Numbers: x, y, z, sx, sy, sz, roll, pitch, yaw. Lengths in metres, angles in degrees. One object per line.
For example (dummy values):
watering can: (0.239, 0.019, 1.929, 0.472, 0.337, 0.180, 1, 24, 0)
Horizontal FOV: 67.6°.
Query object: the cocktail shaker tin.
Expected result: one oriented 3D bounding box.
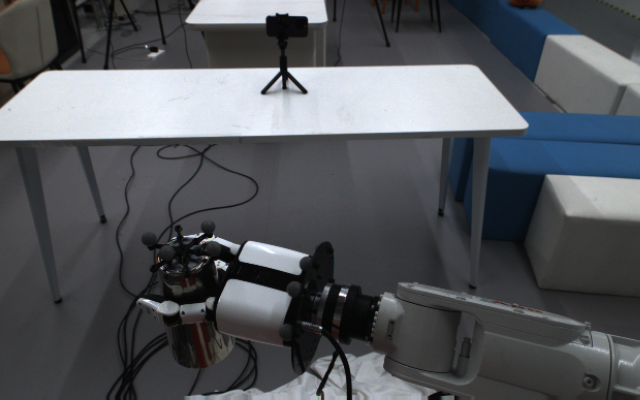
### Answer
cocktail shaker tin: (-0.161, 0.130, 0.634, 0.093, 0.170, 0.093, 1, 39, 0)
